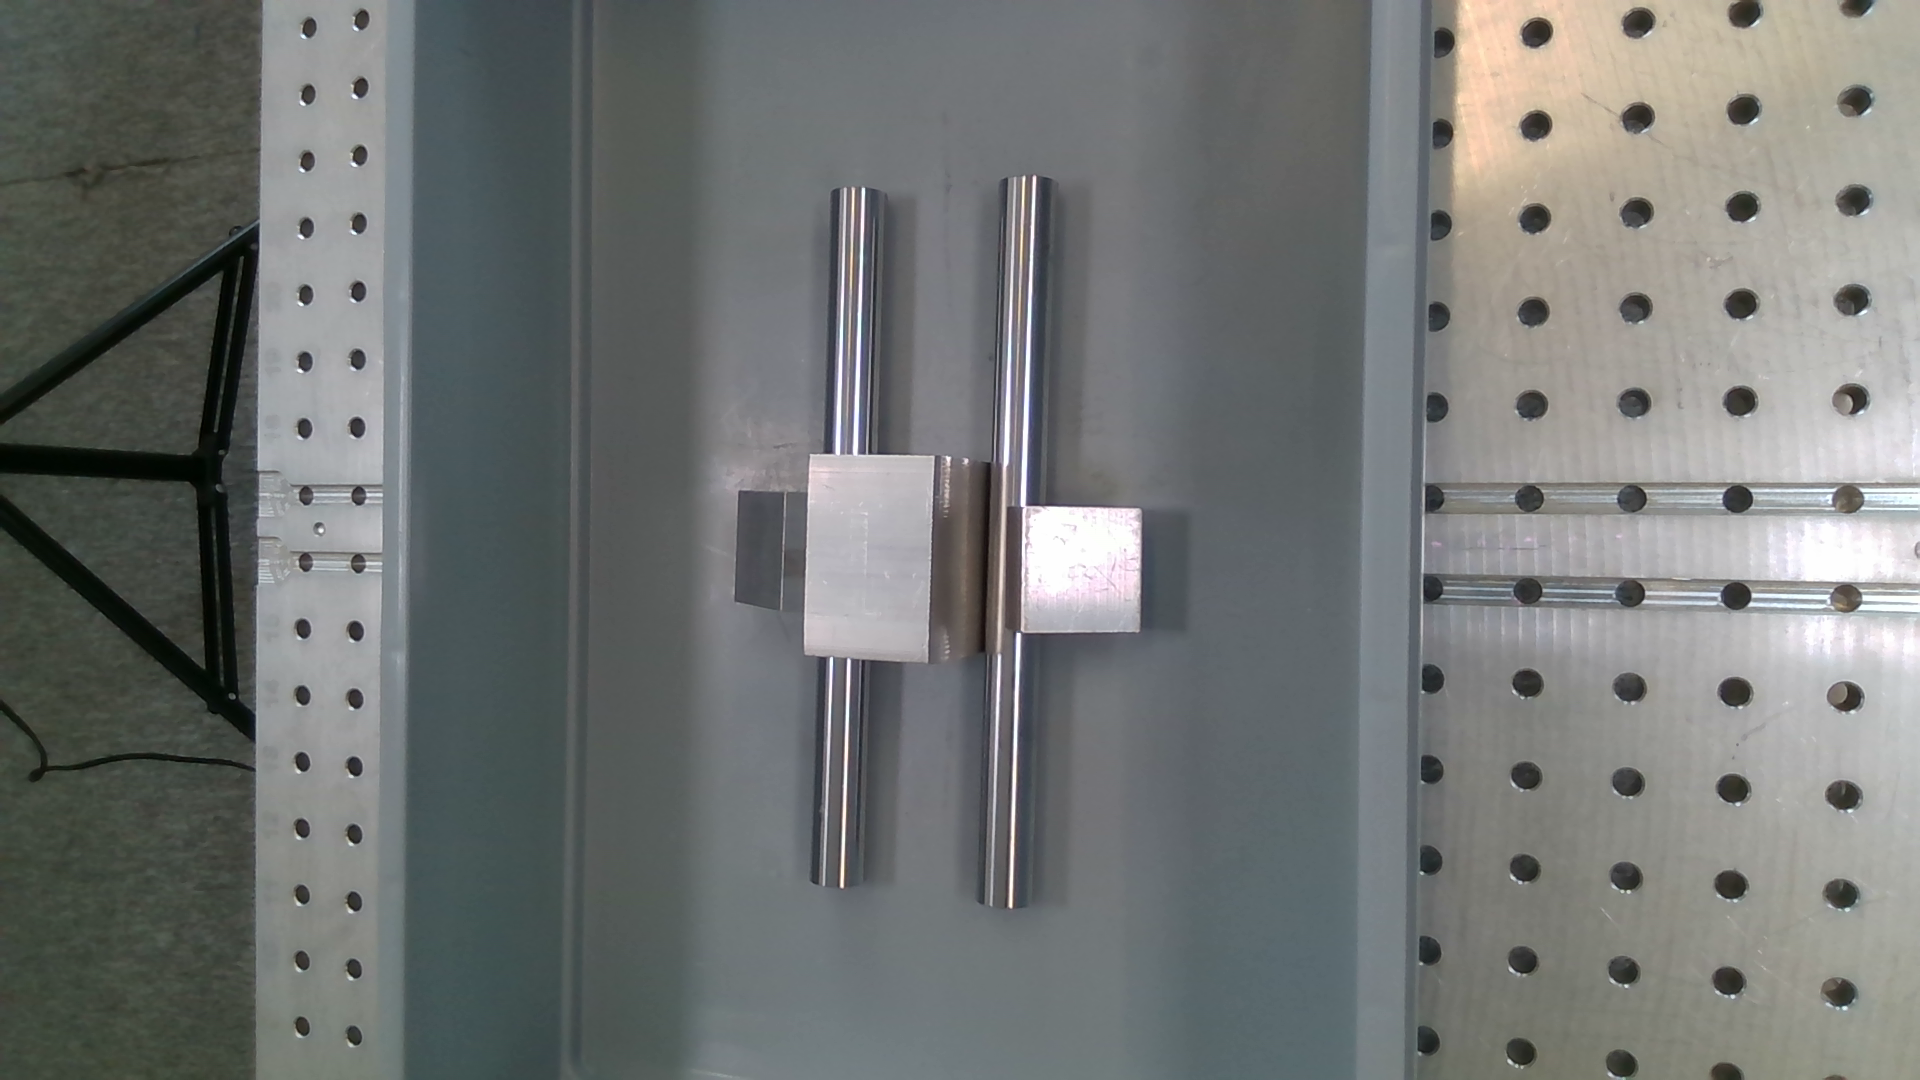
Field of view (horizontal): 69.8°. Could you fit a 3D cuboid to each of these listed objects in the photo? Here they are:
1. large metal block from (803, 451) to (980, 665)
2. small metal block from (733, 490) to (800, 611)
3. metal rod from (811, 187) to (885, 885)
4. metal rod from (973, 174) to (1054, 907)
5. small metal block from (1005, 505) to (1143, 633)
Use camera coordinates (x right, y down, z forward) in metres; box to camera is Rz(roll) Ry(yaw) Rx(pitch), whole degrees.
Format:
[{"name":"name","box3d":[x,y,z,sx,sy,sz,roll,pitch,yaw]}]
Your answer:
[{"name":"large metal block","box3d":[-0.023,0.006,0.563,0.050,0.080,0.080,2,91,20]},{"name":"small metal block","box3d":[-0.076,0.004,0.600,0.050,0.025,0.050,5,93,58]},{"name":"metal rod","box3d":[-0.049,-0.001,0.603,0.025,0.025,0.300,2,91,20]},{"name":"metal rod","box3d":[0.023,0.001,0.576,0.025,0.025,0.300,2,91,20]},{"name":"small metal block","box3d":[0.045,0.011,0.556,0.050,0.025,0.050,1,91,-14]}]
